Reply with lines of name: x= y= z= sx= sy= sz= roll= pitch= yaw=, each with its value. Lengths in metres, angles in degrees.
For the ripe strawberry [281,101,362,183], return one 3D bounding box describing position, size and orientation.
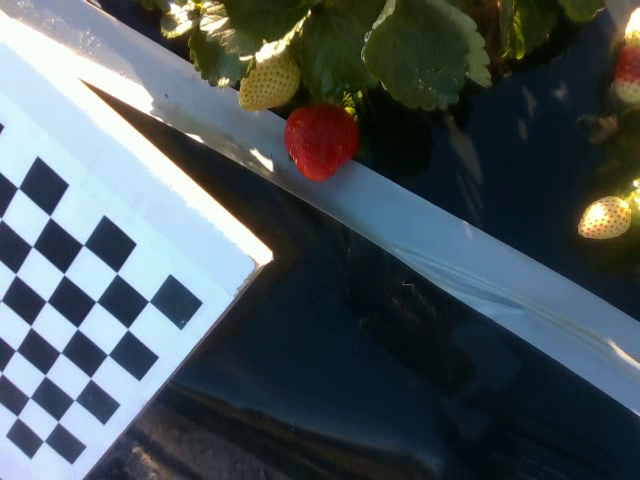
ripe strawberry: x=-0.001 y=-0.053 z=0.314 sx=0.045 sy=0.064 sz=0.049 roll=-22 pitch=-53 yaw=26
